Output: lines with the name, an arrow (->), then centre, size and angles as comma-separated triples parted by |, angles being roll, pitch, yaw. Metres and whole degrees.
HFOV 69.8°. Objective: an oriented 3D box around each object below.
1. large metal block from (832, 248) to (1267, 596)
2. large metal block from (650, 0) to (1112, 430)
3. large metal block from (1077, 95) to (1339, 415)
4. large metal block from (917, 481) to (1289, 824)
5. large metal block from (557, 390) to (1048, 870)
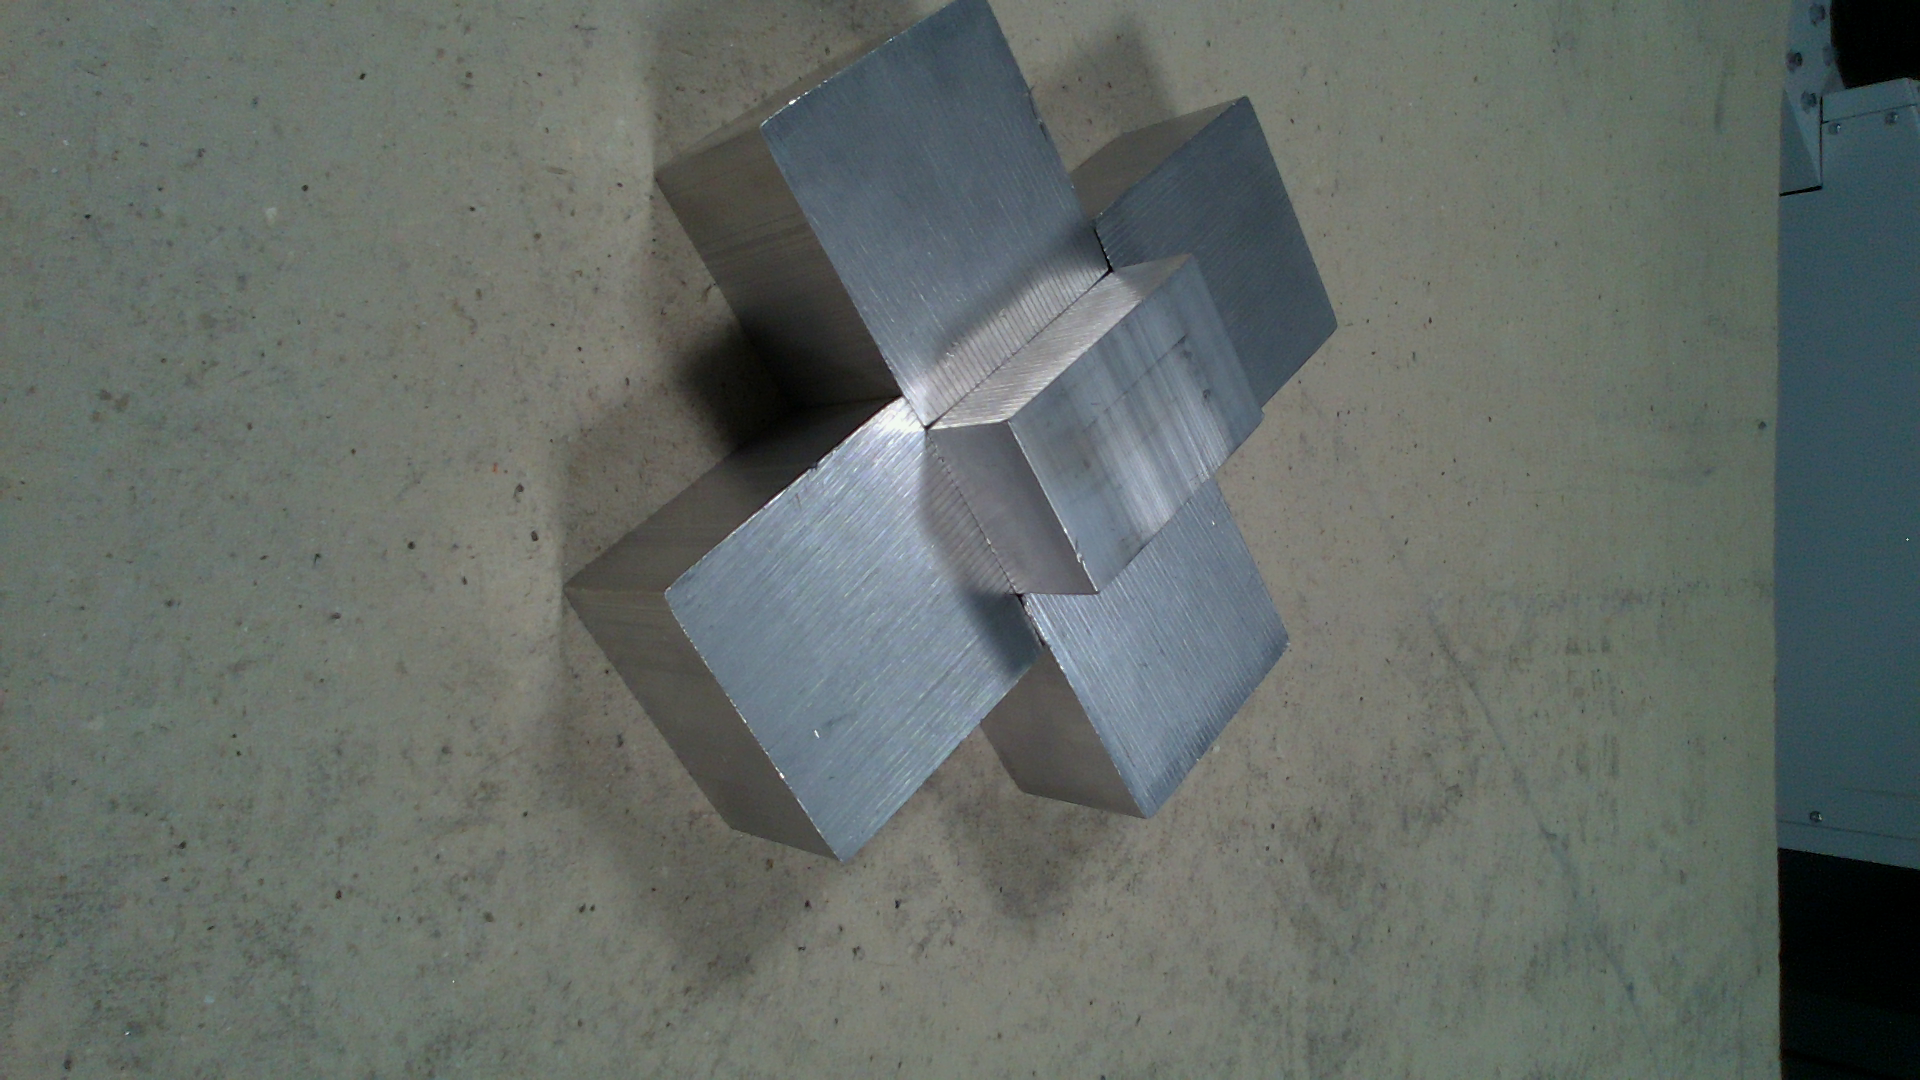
large metal block -> 0.021, -0.031, 0.370 | 0.080, 0.080, 0.050 | -44, 116, -31
large metal block -> -0.018, -0.083, 0.357 | 0.080, 0.050, 0.080 | -44, 116, -31
large metal block -> 0.063, -0.077, 0.424 | 0.080, 0.050, 0.080 | -44, 116, -31
large metal block -> 0.042, 0.023, 0.407 | 0.080, 0.050, 0.080 | -44, 116, -31
large metal block -> -0.036, 0.020, 0.342 | 0.080, 0.050, 0.080 | -44, 116, -31
